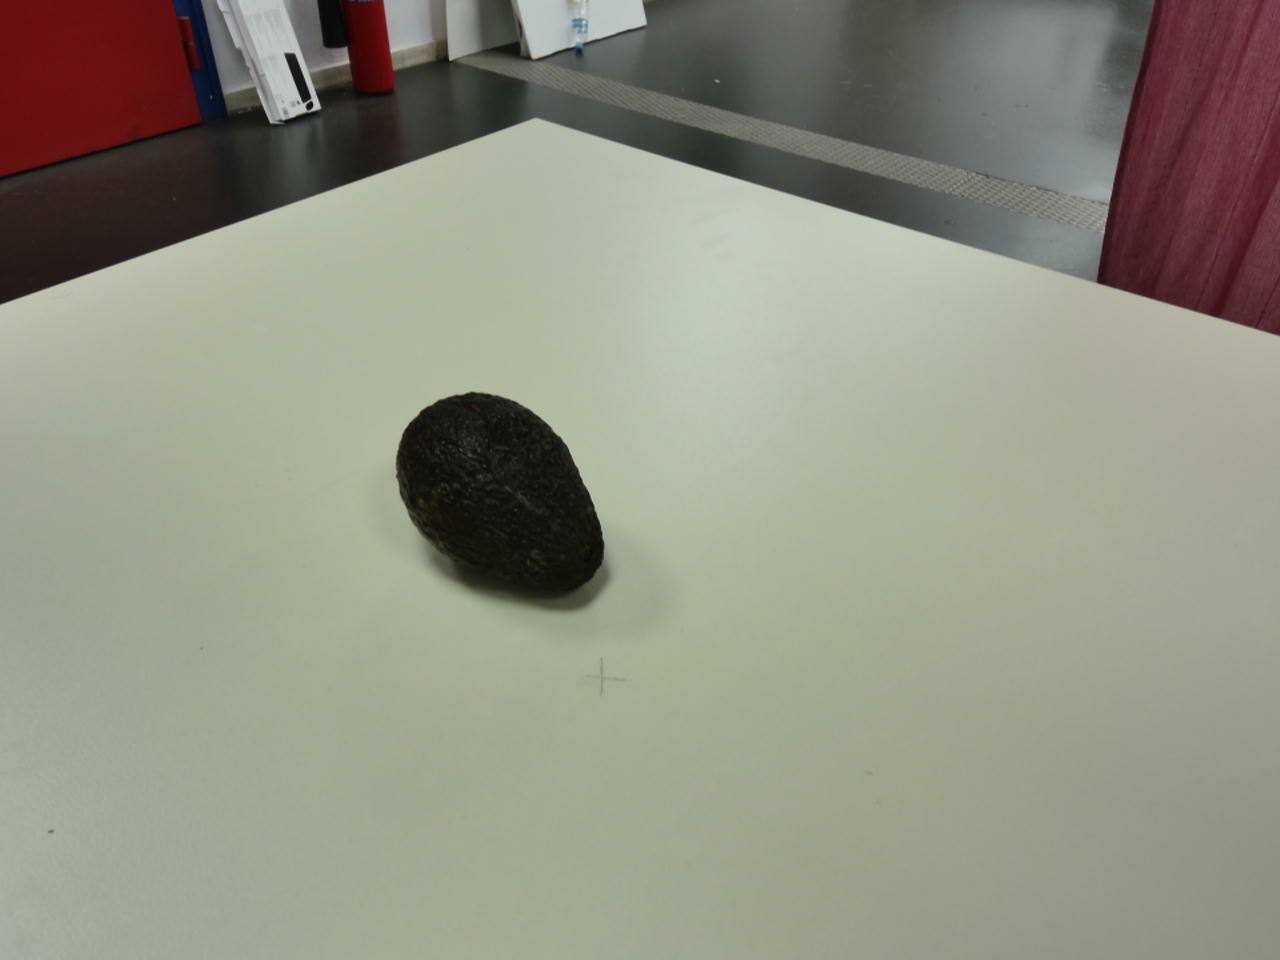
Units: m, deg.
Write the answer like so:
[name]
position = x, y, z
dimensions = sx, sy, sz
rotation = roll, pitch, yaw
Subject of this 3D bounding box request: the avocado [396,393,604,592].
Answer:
[avocado]
position = -0.059, 0.004, 0.403
dimensions = 0.070, 0.069, 0.090
rotation = -16, 39, -22
